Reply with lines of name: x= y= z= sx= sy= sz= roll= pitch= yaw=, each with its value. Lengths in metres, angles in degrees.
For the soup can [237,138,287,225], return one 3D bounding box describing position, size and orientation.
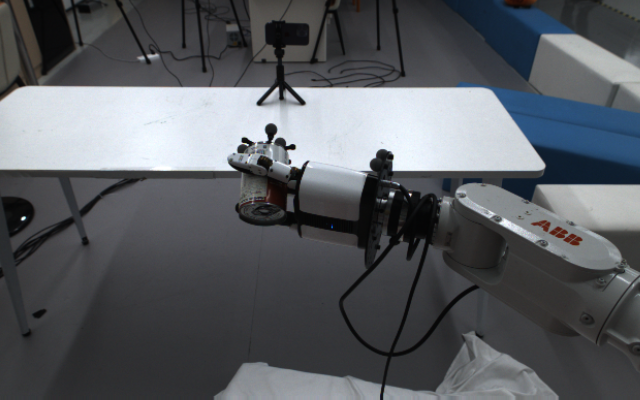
soup can: x=-0.078 y=-0.023 z=0.683 sx=0.067 sy=0.067 sz=0.101 roll=0 pitch=61 yaw=-2
